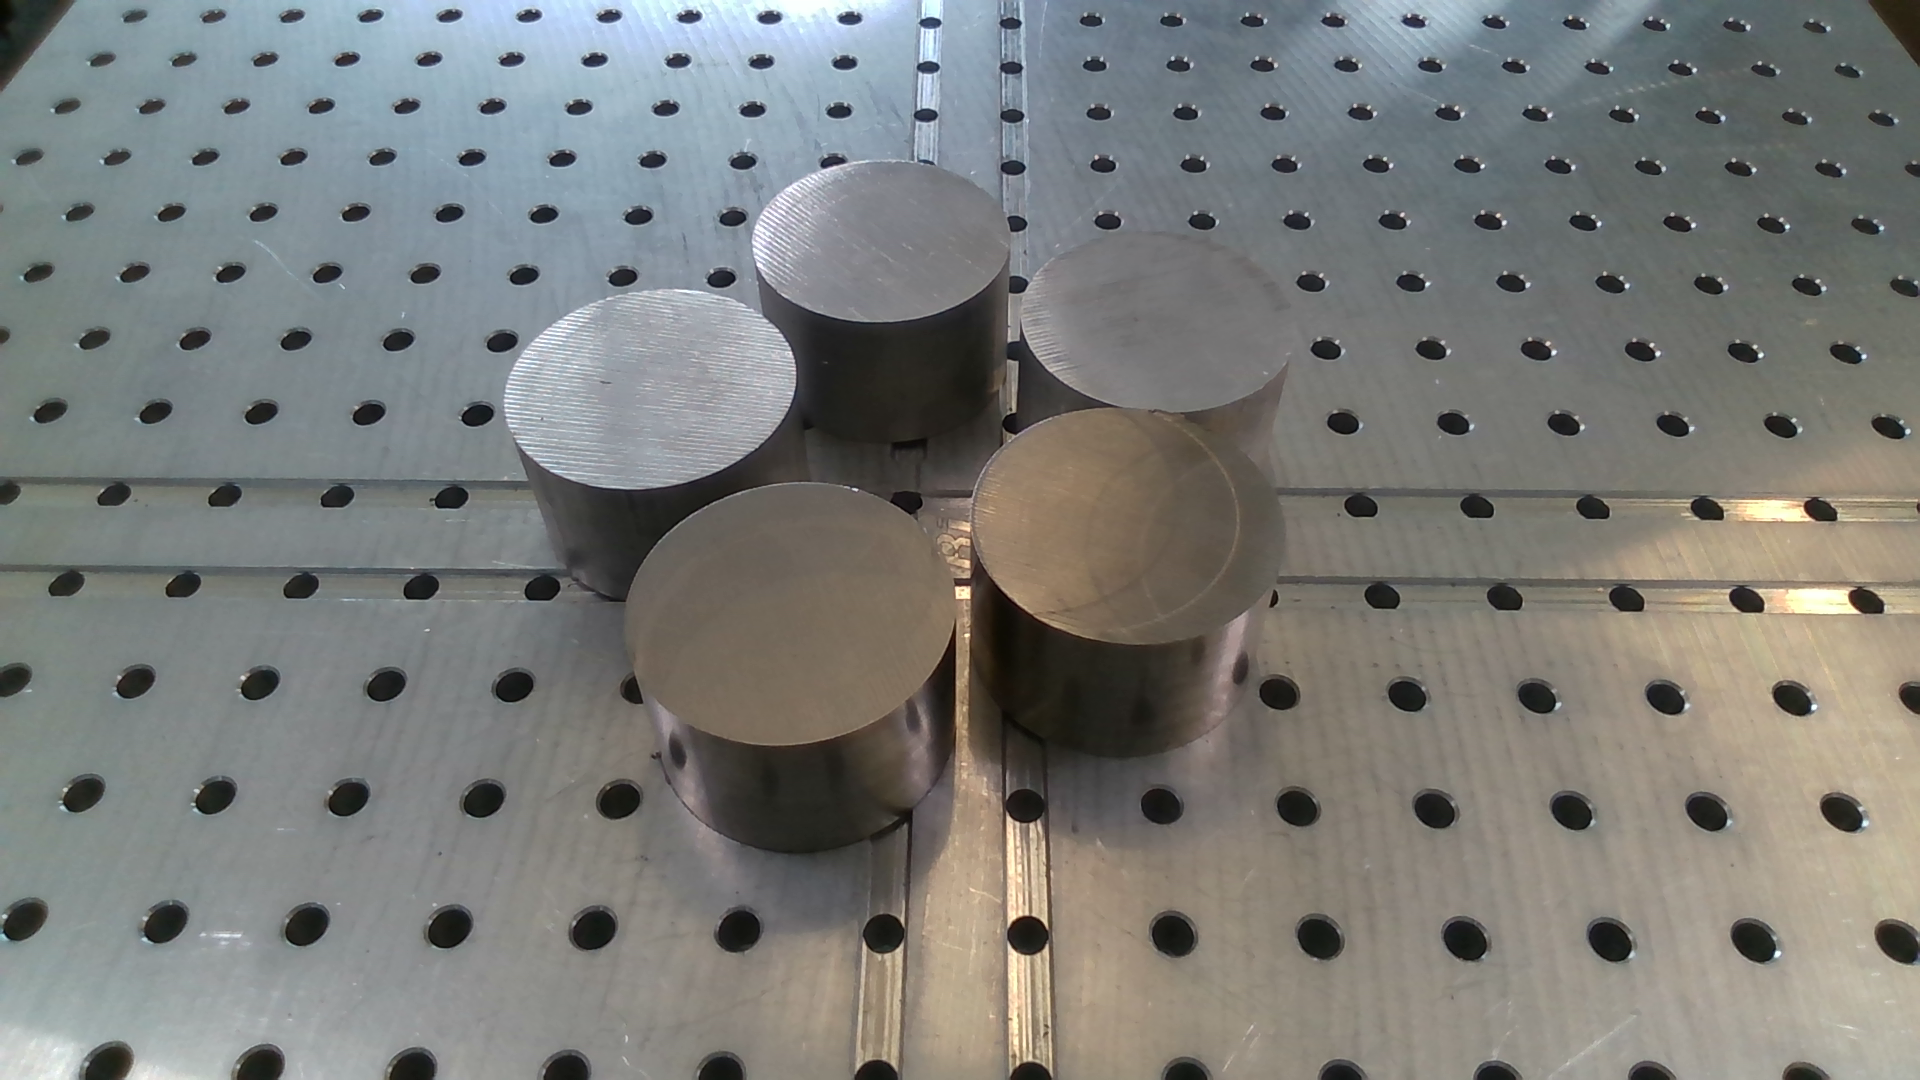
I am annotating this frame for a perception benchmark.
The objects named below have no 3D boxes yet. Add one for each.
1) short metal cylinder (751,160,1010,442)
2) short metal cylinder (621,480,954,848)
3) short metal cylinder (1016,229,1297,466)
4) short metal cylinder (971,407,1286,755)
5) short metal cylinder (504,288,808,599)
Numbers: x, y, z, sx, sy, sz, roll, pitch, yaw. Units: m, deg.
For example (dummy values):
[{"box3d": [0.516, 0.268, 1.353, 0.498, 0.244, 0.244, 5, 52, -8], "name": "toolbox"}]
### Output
[{"box3d": [-0.024, -0.078, 0.445, 0.080, 0.050, 0.080, 0, 50, 0], "name": "short metal cylinder"}, {"box3d": [-0.041, 0.031, 0.353, 0.080, 0.050, 0.080, -1, 50, 1], "name": "short metal cylinder"}, {"box3d": [0.058, -0.050, 0.421, 0.080, 0.050, 0.080, 0, 50, 0], "name": "short metal cylinder"}, {"box3d": [0.043, 0.010, 0.370, 0.080, 0.050, 0.080, 0, 50, 0], "name": "short metal cylinder"}, {"box3d": [-0.086, -0.028, 0.402, 0.080, 0.050, 0.080, 0, 49, 0], "name": "short metal cylinder"}]
